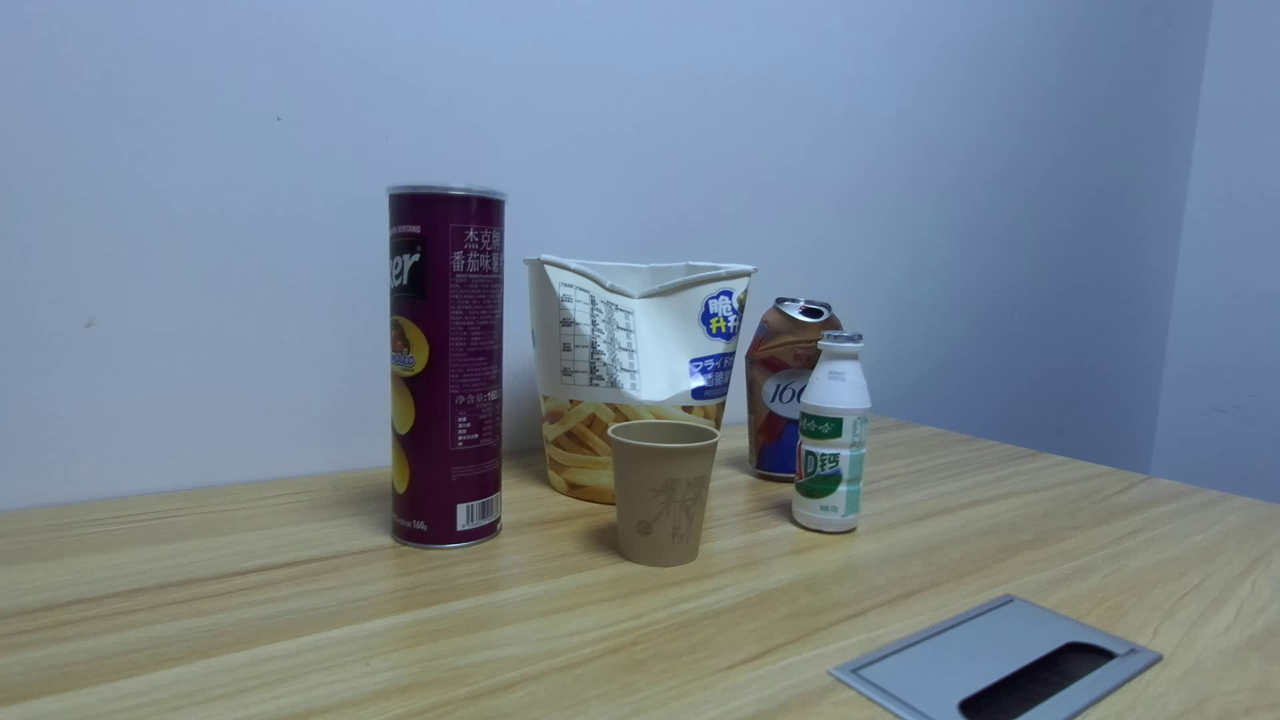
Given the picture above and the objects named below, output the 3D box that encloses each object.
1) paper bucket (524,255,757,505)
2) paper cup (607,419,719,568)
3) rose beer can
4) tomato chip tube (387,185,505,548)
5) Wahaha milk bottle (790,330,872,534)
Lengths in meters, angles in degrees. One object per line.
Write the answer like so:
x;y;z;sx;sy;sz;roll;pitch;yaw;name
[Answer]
-0.014;0.011;0.615;0.163;0.202;0.168;-4;7;-33;paper bucket
0.014;0.087;0.468;0.075;0.082;0.075;3;8;0;paper cup
0.142;0.028;0.652;0.069;0.168;0.069;14;15;41;rose beer can
-0.131;0.004;0.486;0.078;0.233;0.078;2;8;0;tomato chip tube
0.144;0.052;0.529;0.053;0.147;0.053;3;8;0;Wahaha milk bottle
